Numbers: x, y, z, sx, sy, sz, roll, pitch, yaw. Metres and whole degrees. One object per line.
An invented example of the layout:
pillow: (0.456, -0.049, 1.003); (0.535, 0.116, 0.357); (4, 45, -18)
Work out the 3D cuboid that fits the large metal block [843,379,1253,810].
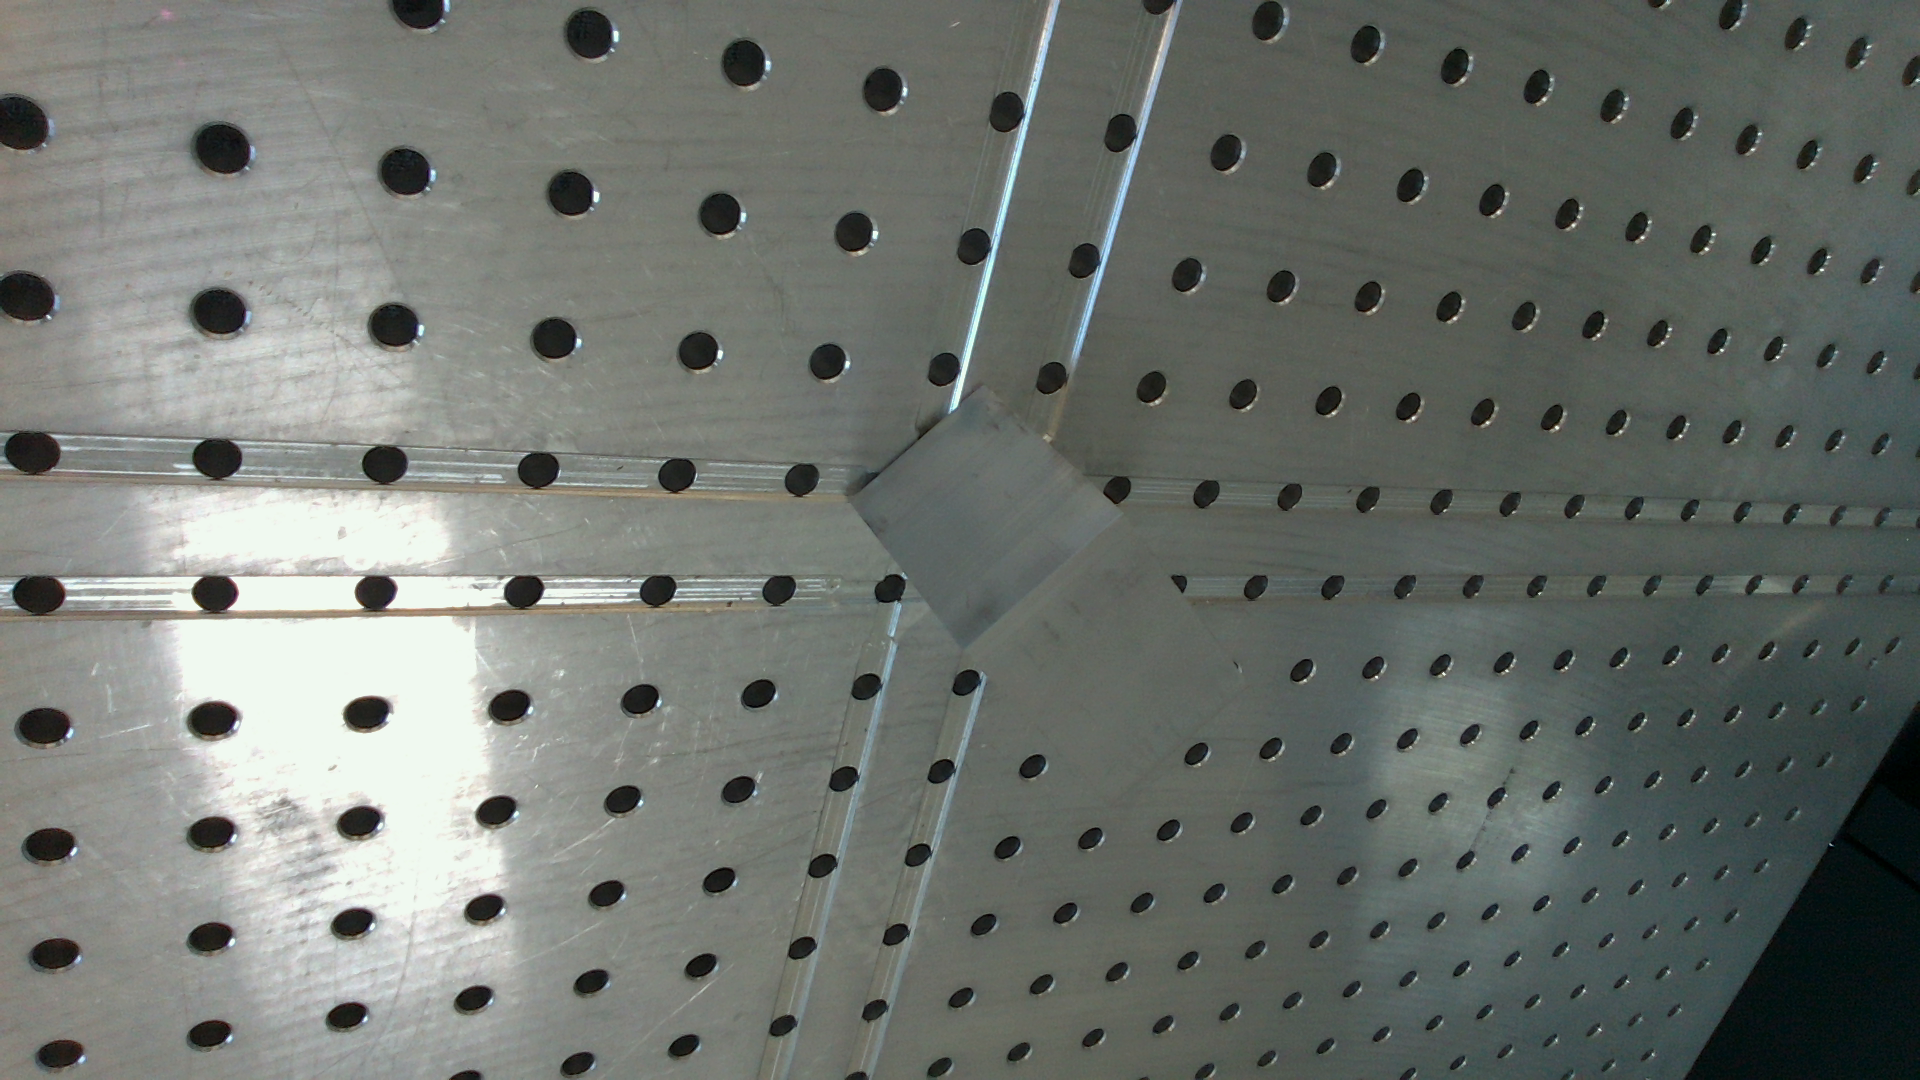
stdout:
large metal block: (0.023, 0.014, 0.378); (0.050, 0.080, 0.080); (-41, 130, 0)
